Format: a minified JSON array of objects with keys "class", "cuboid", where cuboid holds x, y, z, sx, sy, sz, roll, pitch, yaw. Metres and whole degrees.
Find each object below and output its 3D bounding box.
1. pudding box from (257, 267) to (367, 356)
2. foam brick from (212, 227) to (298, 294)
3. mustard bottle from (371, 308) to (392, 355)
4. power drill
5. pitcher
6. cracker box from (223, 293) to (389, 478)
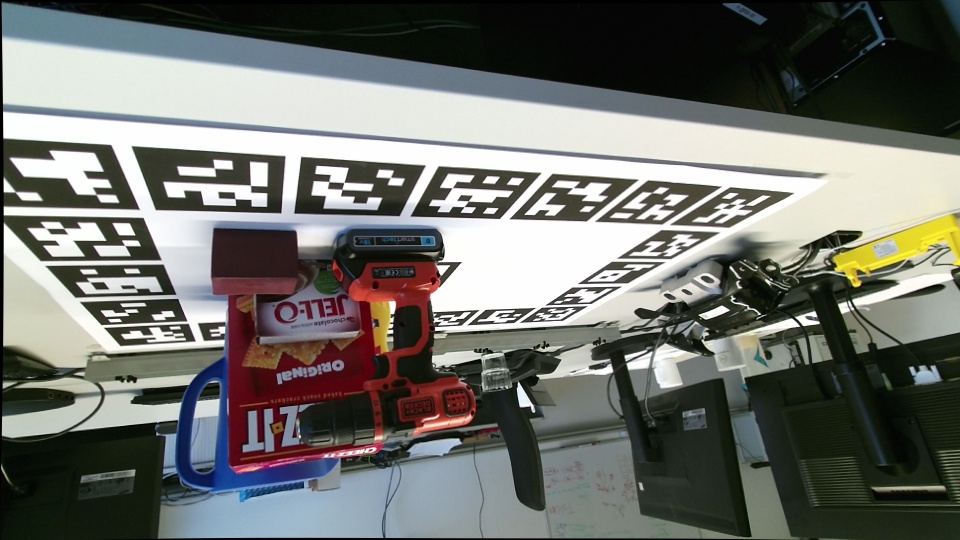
[{"class":"pudding box","cuboid":[-0.191,0.046,0.609,0.114,0.089,0.039,-4,159,-25]},{"class":"foam brick","cuboid":[-0.228,-0.009,0.544,0.078,0.051,0.053,0,154,-25]},{"class":"mustard bottle","cuboid":[-0.163,0.149,0.749,0.096,0.190,0.058,5,152,-35]},{"class":"power drill","cuboid":[-0.100,0.082,0.556,0.185,0.186,0.057,-1,160,-21]},{"class":"pitcher","cuboid":[-0.284,0.162,0.694,0.189,0.241,0.133,-1,156,-30]},{"class":"cracker box","cuboid":[-0.206,0.115,0.628,0.165,0.212,0.072,-5,159,-22]}]
